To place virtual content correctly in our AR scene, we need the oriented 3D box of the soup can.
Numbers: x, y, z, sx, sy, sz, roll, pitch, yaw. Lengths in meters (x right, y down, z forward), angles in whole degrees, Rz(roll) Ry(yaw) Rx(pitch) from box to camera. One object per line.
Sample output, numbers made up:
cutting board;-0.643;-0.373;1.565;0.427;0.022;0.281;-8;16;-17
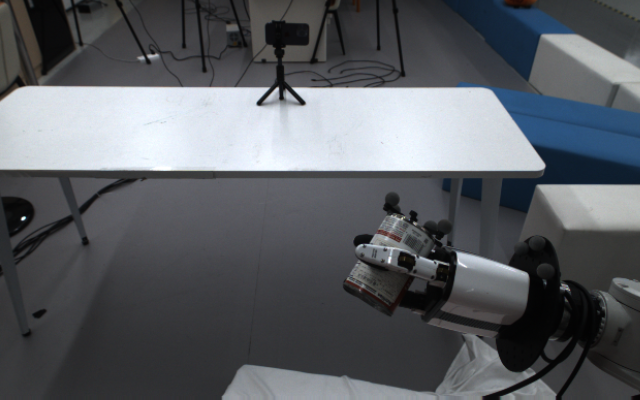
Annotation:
soup can;0.083;0.073;0.570;0.067;0.067;0.101;26;76;31
